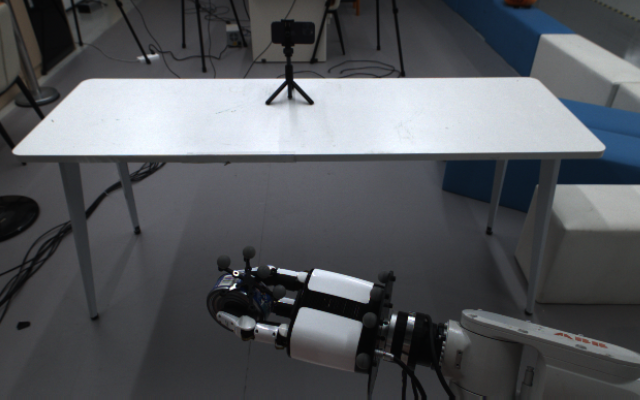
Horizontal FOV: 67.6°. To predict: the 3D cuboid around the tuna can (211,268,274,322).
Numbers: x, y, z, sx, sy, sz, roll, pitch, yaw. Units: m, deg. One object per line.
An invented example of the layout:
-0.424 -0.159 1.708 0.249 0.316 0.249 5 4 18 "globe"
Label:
-0.105 0.139 0.645 0.085 0.085 0.034 12 35 14 "tuna can"
